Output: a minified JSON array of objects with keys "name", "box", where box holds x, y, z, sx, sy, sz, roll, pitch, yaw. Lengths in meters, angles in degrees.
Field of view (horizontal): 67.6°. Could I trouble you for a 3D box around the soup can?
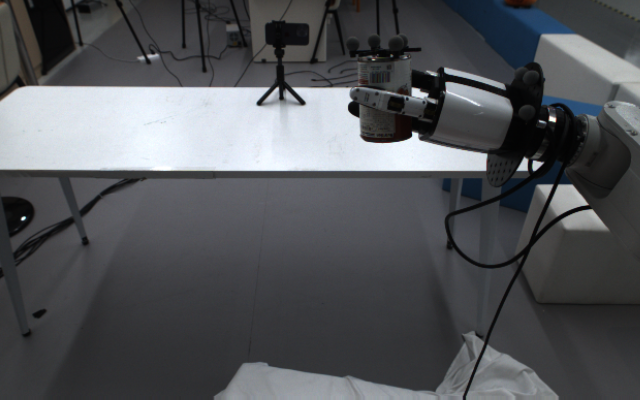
[{"name":"soup can","box":[0.083,-0.130,0.612,0.067,0.101,0.067,-4,21,1]}]
